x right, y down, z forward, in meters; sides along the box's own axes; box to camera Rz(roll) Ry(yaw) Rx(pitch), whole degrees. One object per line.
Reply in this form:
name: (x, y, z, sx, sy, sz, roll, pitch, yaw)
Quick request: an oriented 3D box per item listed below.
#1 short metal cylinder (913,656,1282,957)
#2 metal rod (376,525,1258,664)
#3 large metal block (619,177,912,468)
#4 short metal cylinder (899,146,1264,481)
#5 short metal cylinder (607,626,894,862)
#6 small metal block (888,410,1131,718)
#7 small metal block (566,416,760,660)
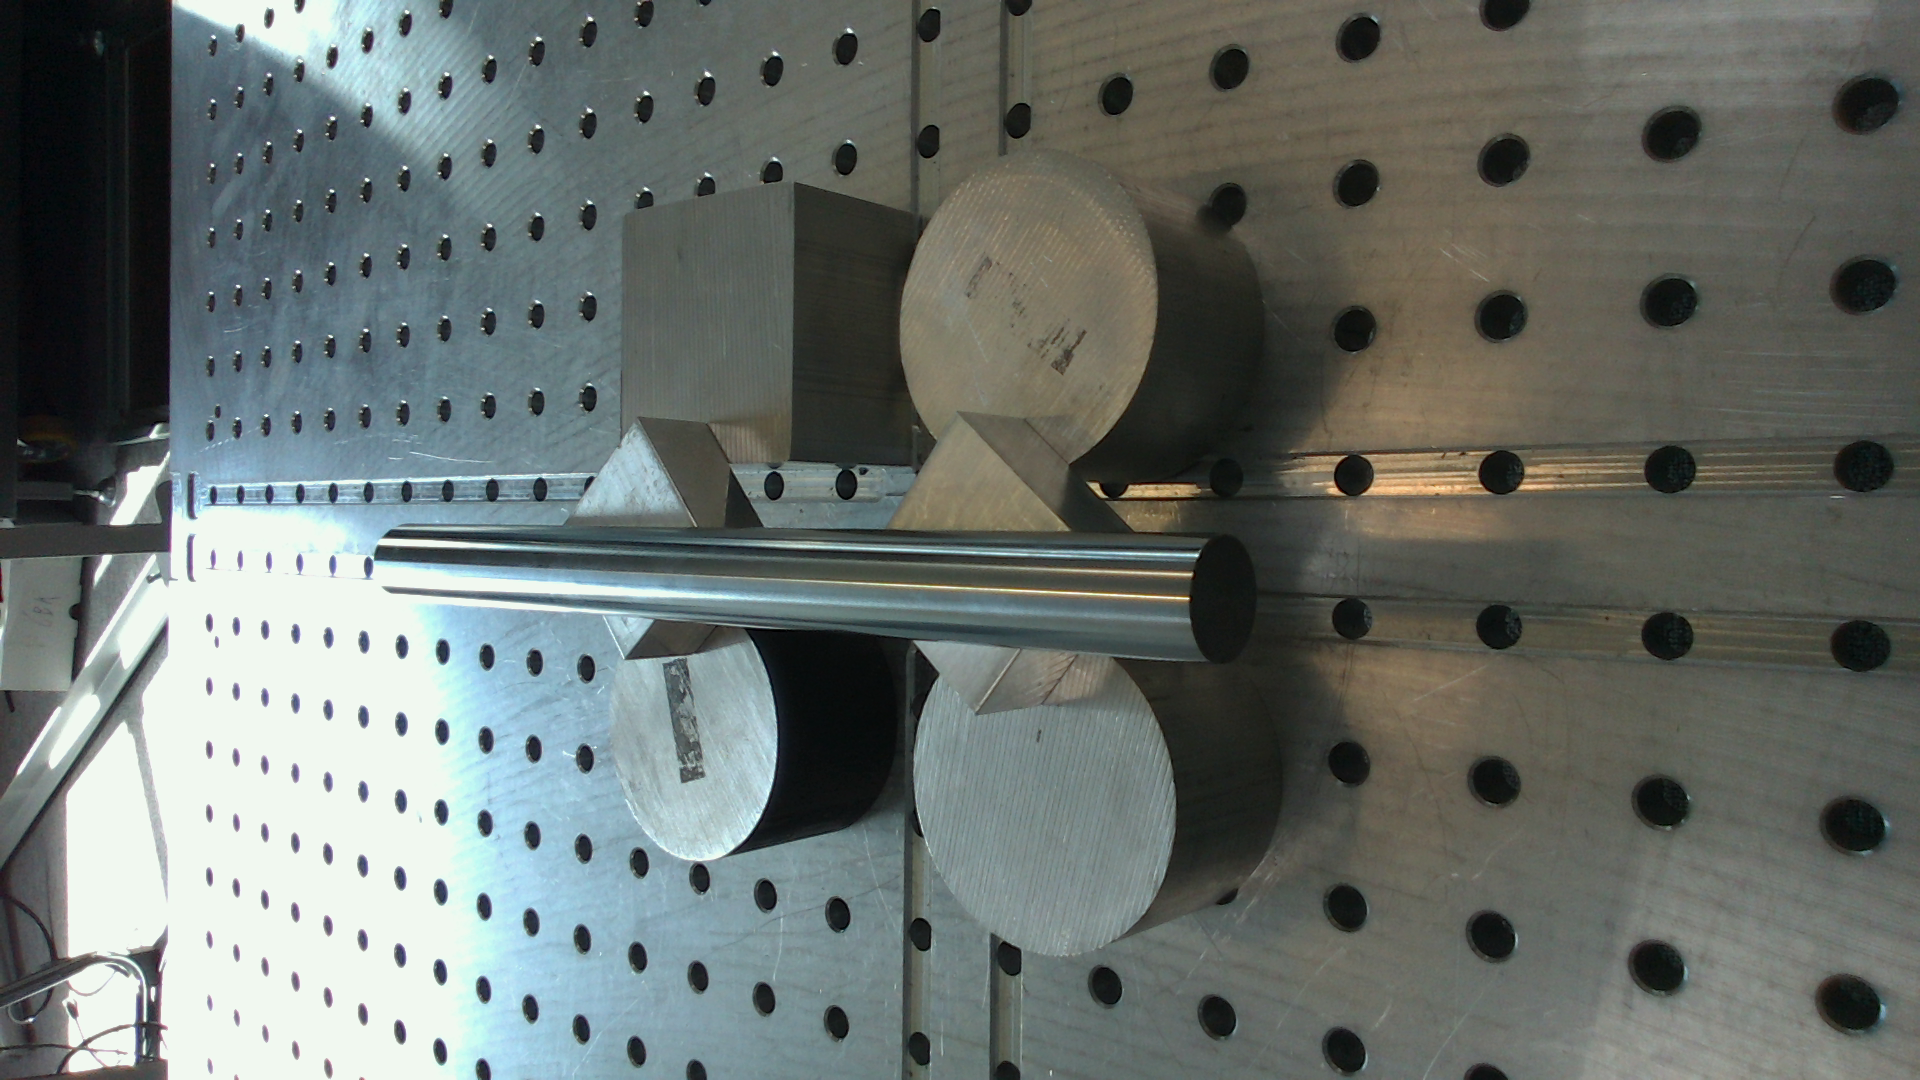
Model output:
short metal cylinder: (0.034, 0.061, 0.353, 0.080, 0.050, 0.080, 0, 90, 40)
metal rod: (-0.065, 0.009, 0.353, 0.299, 0.025, 0.025, 1, 91, 40)
large metal block: (-0.062, -0.063, 0.433, 0.080, 0.050, 0.080, 2, 91, 40)
short metal cylinder: (0.031, -0.056, 0.356, 0.080, 0.050, 0.080, 0, 90, 40)
short metal cylinder: (-0.067, 0.057, 0.437, 0.080, 0.050, 0.080, 0, 90, 40)
small metal block: (0.009, 0.005, 0.325, 0.050, 0.025, 0.050, 48, 119, 29)
small metal block: (-0.087, 0.000, 0.406, 0.050, 0.025, 0.050, -48, 62, 30)
